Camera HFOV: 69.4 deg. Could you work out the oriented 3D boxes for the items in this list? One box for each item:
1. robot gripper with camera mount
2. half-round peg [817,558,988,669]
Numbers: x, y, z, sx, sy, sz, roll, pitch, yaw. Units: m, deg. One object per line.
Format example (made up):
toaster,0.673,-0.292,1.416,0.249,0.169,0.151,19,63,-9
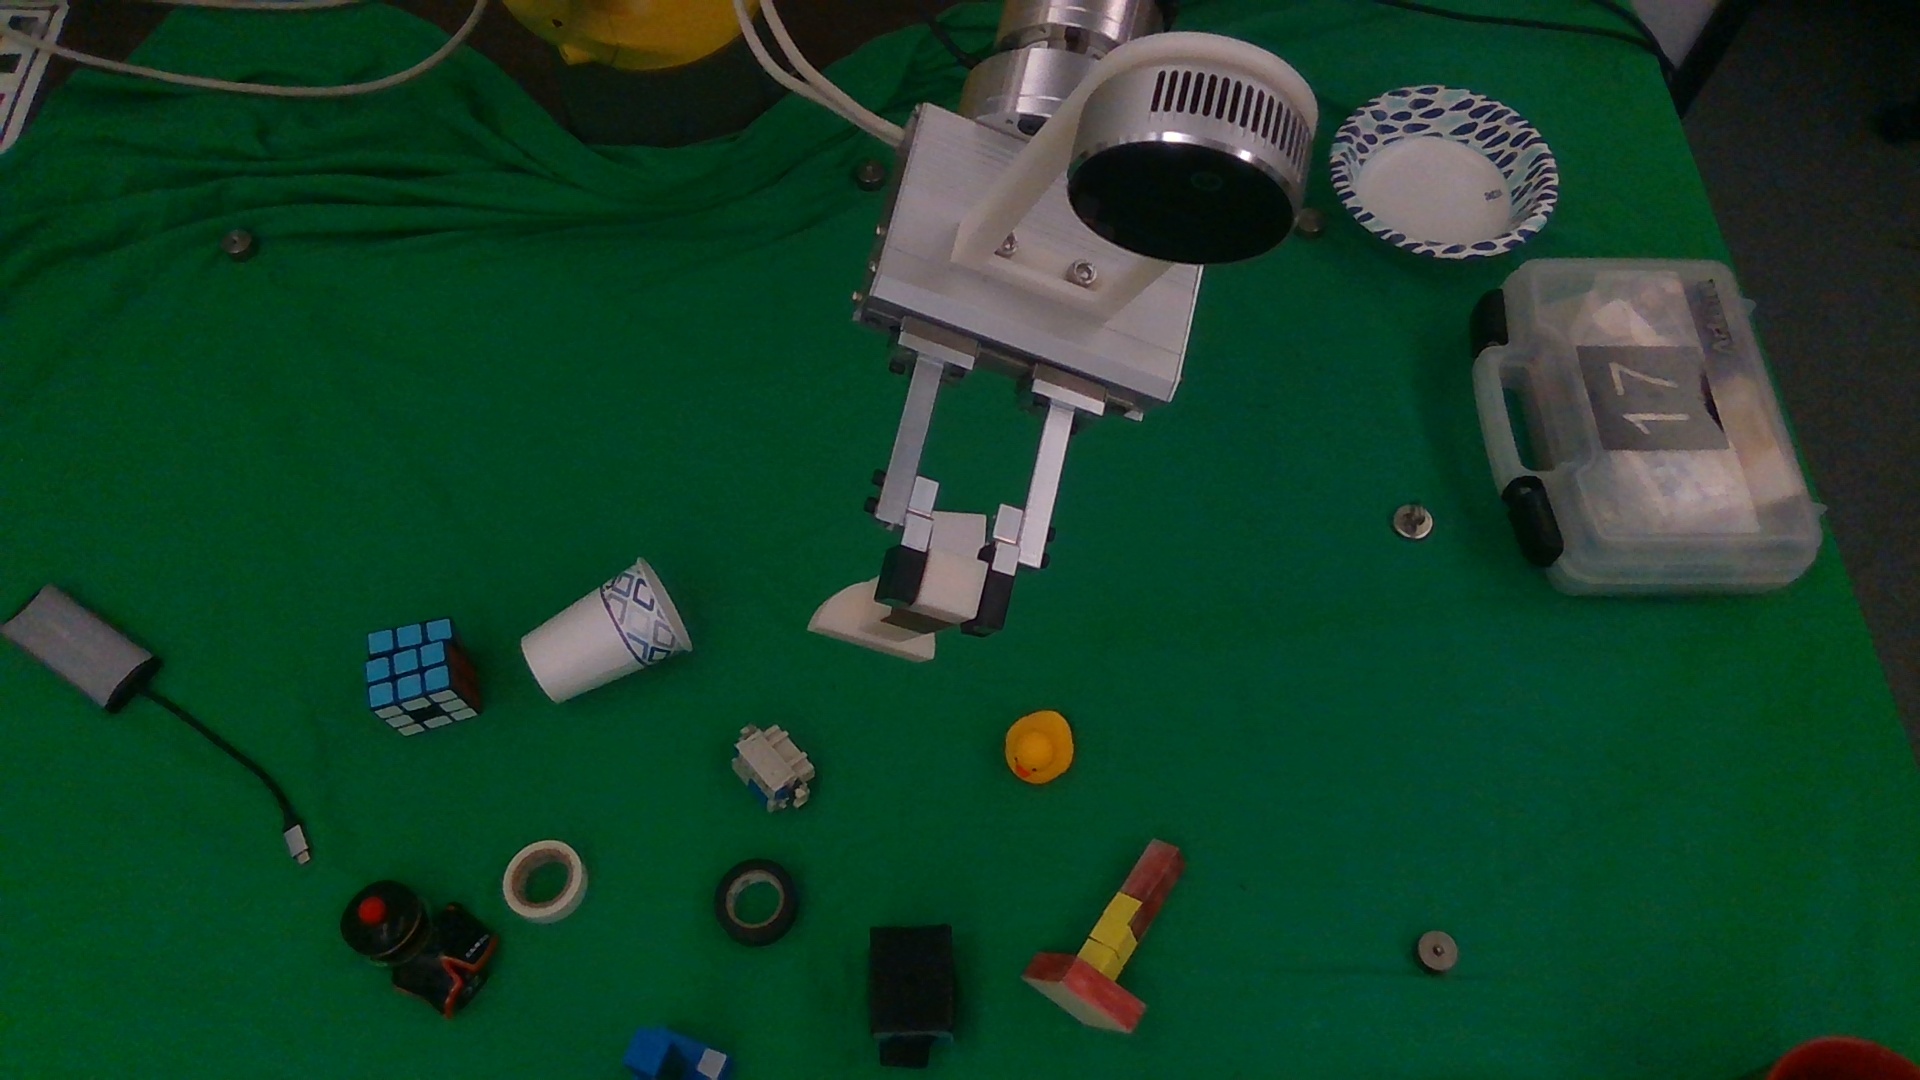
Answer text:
robot gripper with camera mount,0.044,-0.060,0.401,0.119,0.194,0.158,17,77,-16
half-round peg,-0.015,0.026,0.513,0.054,0.122,0.031,16,78,-13
